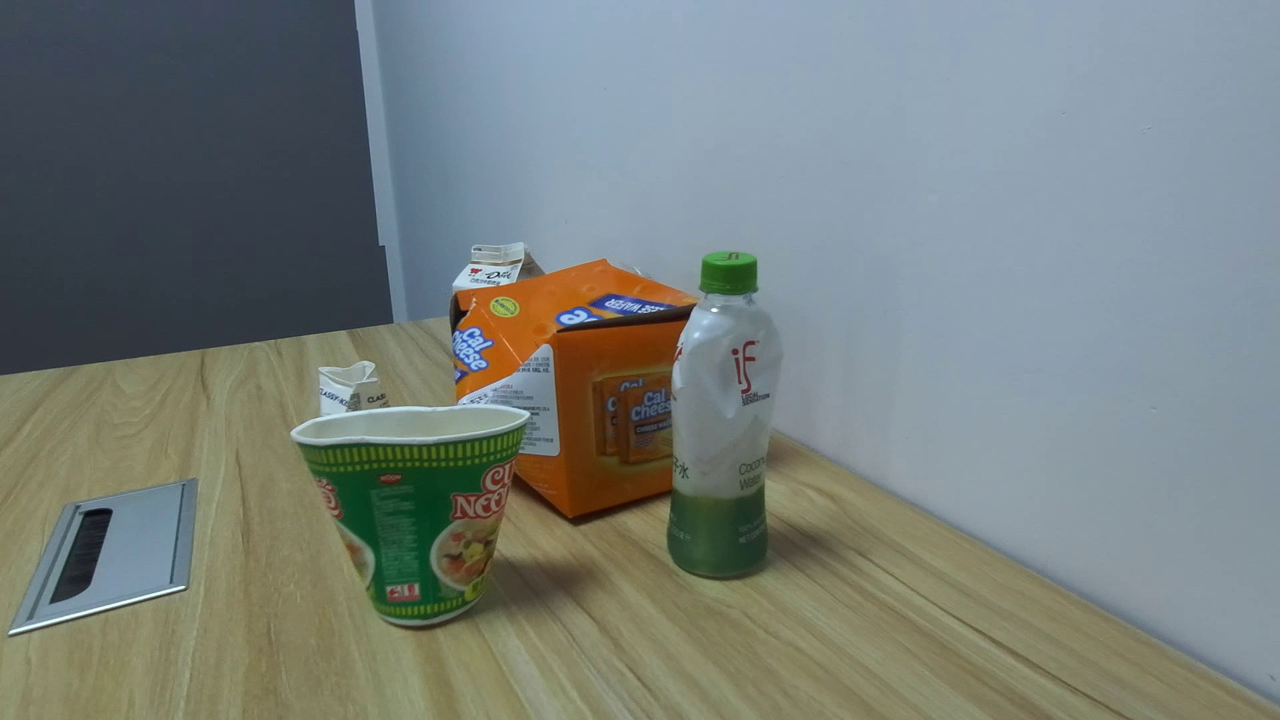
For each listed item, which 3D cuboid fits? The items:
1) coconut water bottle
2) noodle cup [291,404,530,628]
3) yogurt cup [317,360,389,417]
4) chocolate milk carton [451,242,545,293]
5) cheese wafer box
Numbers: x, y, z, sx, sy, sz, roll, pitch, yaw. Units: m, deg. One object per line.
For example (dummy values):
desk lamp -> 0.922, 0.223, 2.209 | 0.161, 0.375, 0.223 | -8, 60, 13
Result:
coconut water bottle -> 0.049, 0.033, 0.416 | 0.067, 0.187, 0.067 | 0, 19, 0
noodle cup -> -0.123, 0.082, 0.395 | 0.115, 0.111, 0.070 | 5, 22, 14
yogurt cup -> -0.234, 0.043, 0.586 | 0.055, 0.072, 0.054 | -9, 21, -23
chocolate milk carton -> -0.139, -0.049, 0.732 | 0.075, 0.148, 0.074 | 8, 21, 25
cheese wafer box -> -0.053, 0.007, 0.569 | 0.192, 0.145, 0.218 | -11, 22, -31
